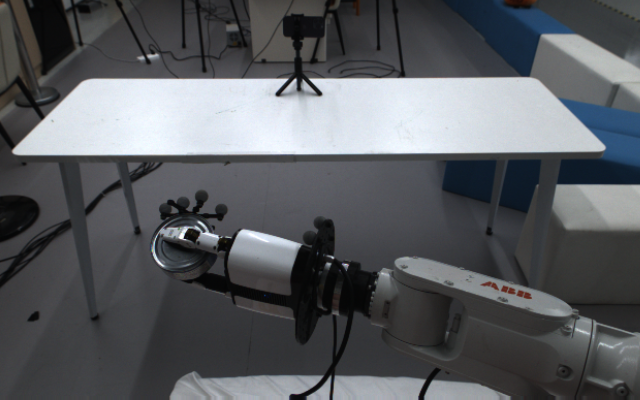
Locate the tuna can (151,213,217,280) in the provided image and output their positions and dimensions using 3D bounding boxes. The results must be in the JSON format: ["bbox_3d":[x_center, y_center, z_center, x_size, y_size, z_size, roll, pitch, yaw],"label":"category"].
[{"bbox_3d":[-0.175,0.064,0.648,0.085,0.034,0.085,-2,57,2],"label":"tuna can"}]
